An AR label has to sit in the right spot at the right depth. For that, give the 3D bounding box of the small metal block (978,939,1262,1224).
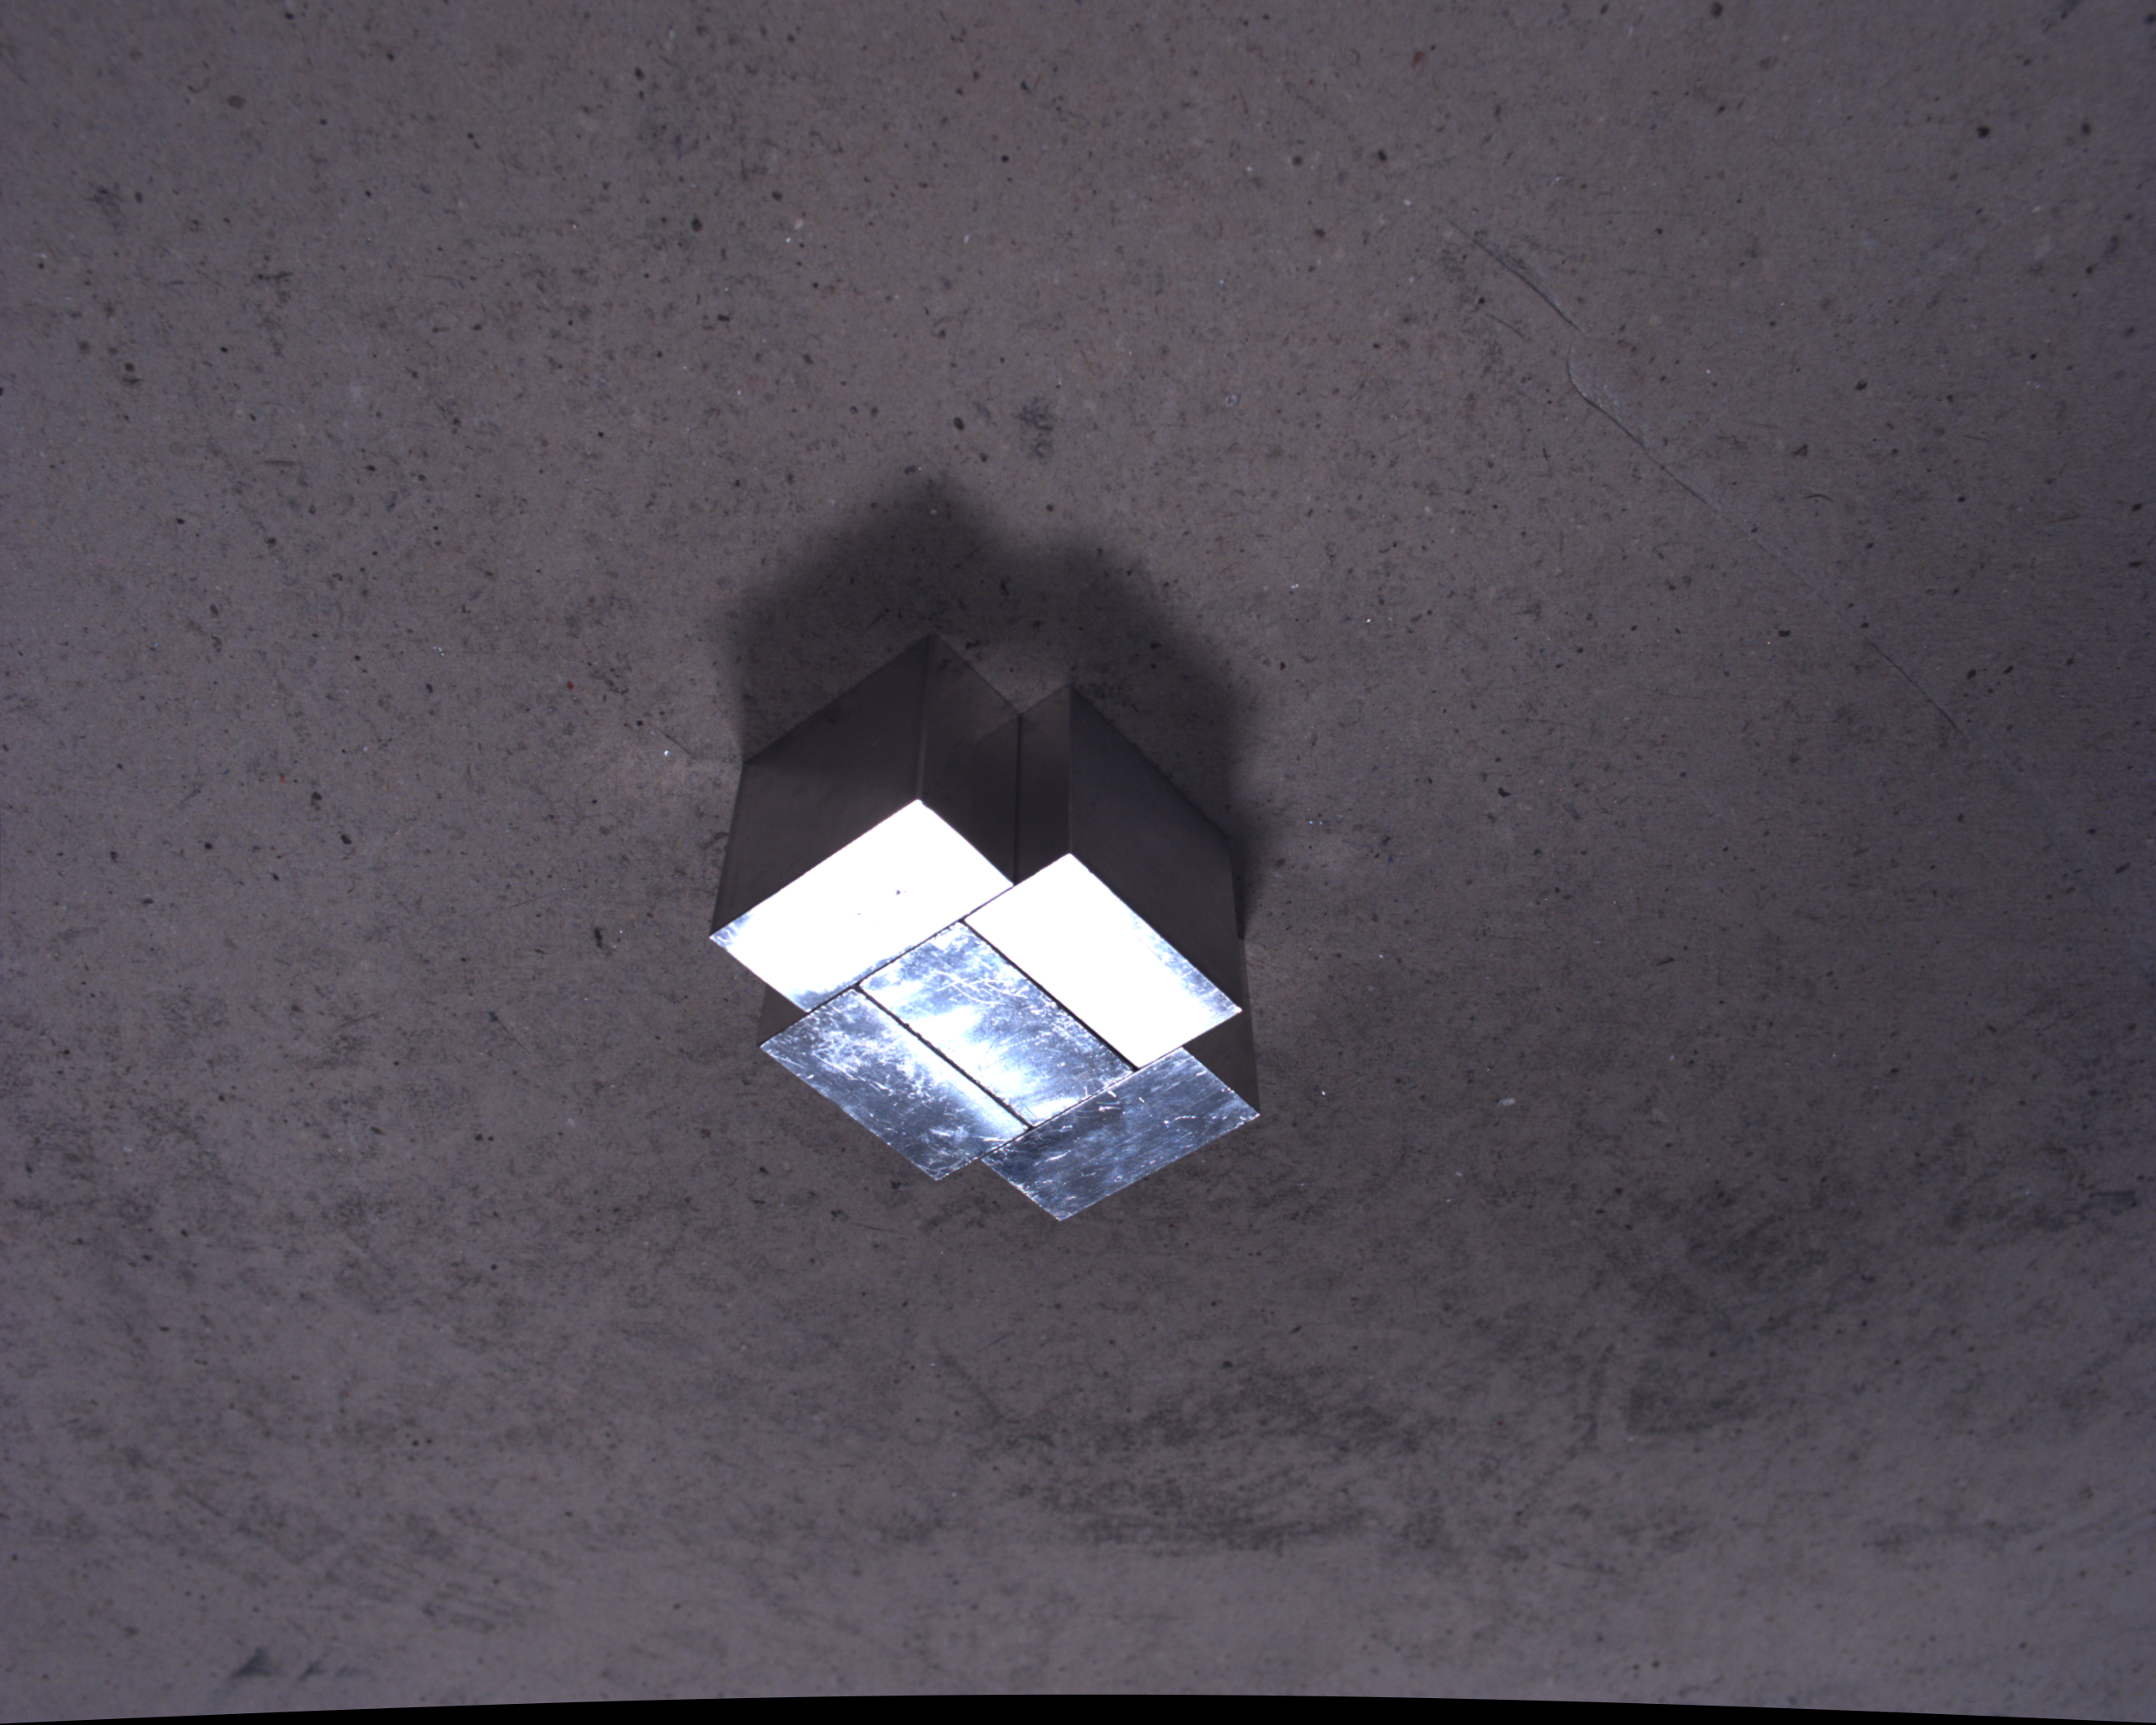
[{"bbox_3d":[0.008,0.038,0.424,0.050,0.050,0.025,-32,124,24],"label":"small metal block"}]

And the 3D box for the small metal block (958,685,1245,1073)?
[{"bbox_3d":[0.005,0.003,0.394,0.025,0.050,0.050,-33,123,25],"label":"small metal block"}]

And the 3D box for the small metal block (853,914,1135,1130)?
[{"bbox_3d":[-0.015,0.015,0.404,0.025,0.050,0.050,-32,123,24],"label":"small metal block"}]

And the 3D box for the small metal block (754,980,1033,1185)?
[{"bbox_3d":[-0.035,0.027,0.414,0.025,0.050,0.050,-32,123,24],"label":"small metal block"}]

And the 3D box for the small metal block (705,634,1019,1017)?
[{"bbox_3d":[-0.039,-0.007,0.385,0.050,0.050,0.025,-32,124,24],"label":"small metal block"}]
